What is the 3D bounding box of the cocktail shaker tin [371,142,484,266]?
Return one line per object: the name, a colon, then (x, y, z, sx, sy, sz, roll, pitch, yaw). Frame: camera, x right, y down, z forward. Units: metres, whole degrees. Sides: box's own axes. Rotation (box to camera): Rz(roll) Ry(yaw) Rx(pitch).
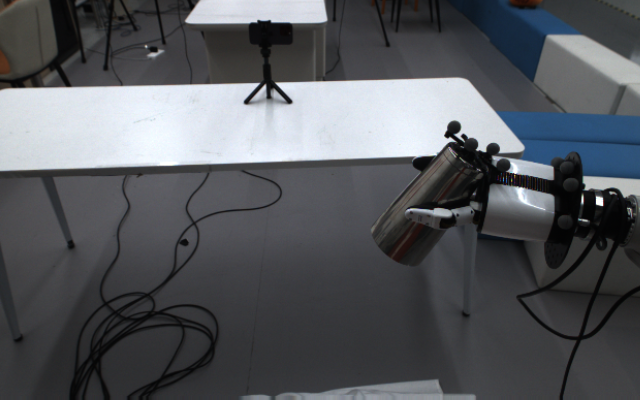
cocktail shaker tin: (0.157, -0.001, 0.686, 0.093, 0.170, 0.093, 26, 32, -17)
